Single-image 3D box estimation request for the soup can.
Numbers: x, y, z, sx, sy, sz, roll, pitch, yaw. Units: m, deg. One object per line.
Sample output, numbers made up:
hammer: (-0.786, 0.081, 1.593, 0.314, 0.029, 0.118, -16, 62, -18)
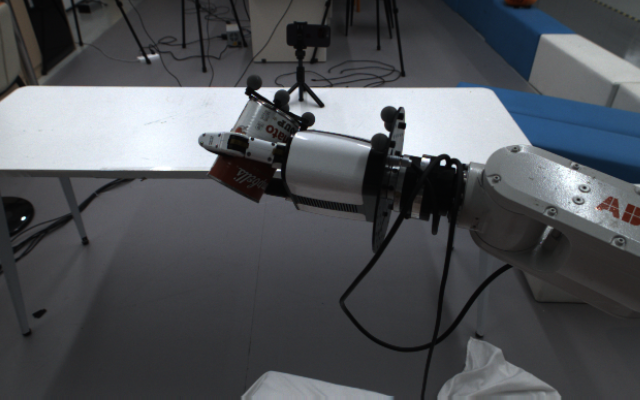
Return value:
soup can: (-0.074, -0.055, 0.554, 0.067, 0.101, 0.067, 28, -3, 1)
